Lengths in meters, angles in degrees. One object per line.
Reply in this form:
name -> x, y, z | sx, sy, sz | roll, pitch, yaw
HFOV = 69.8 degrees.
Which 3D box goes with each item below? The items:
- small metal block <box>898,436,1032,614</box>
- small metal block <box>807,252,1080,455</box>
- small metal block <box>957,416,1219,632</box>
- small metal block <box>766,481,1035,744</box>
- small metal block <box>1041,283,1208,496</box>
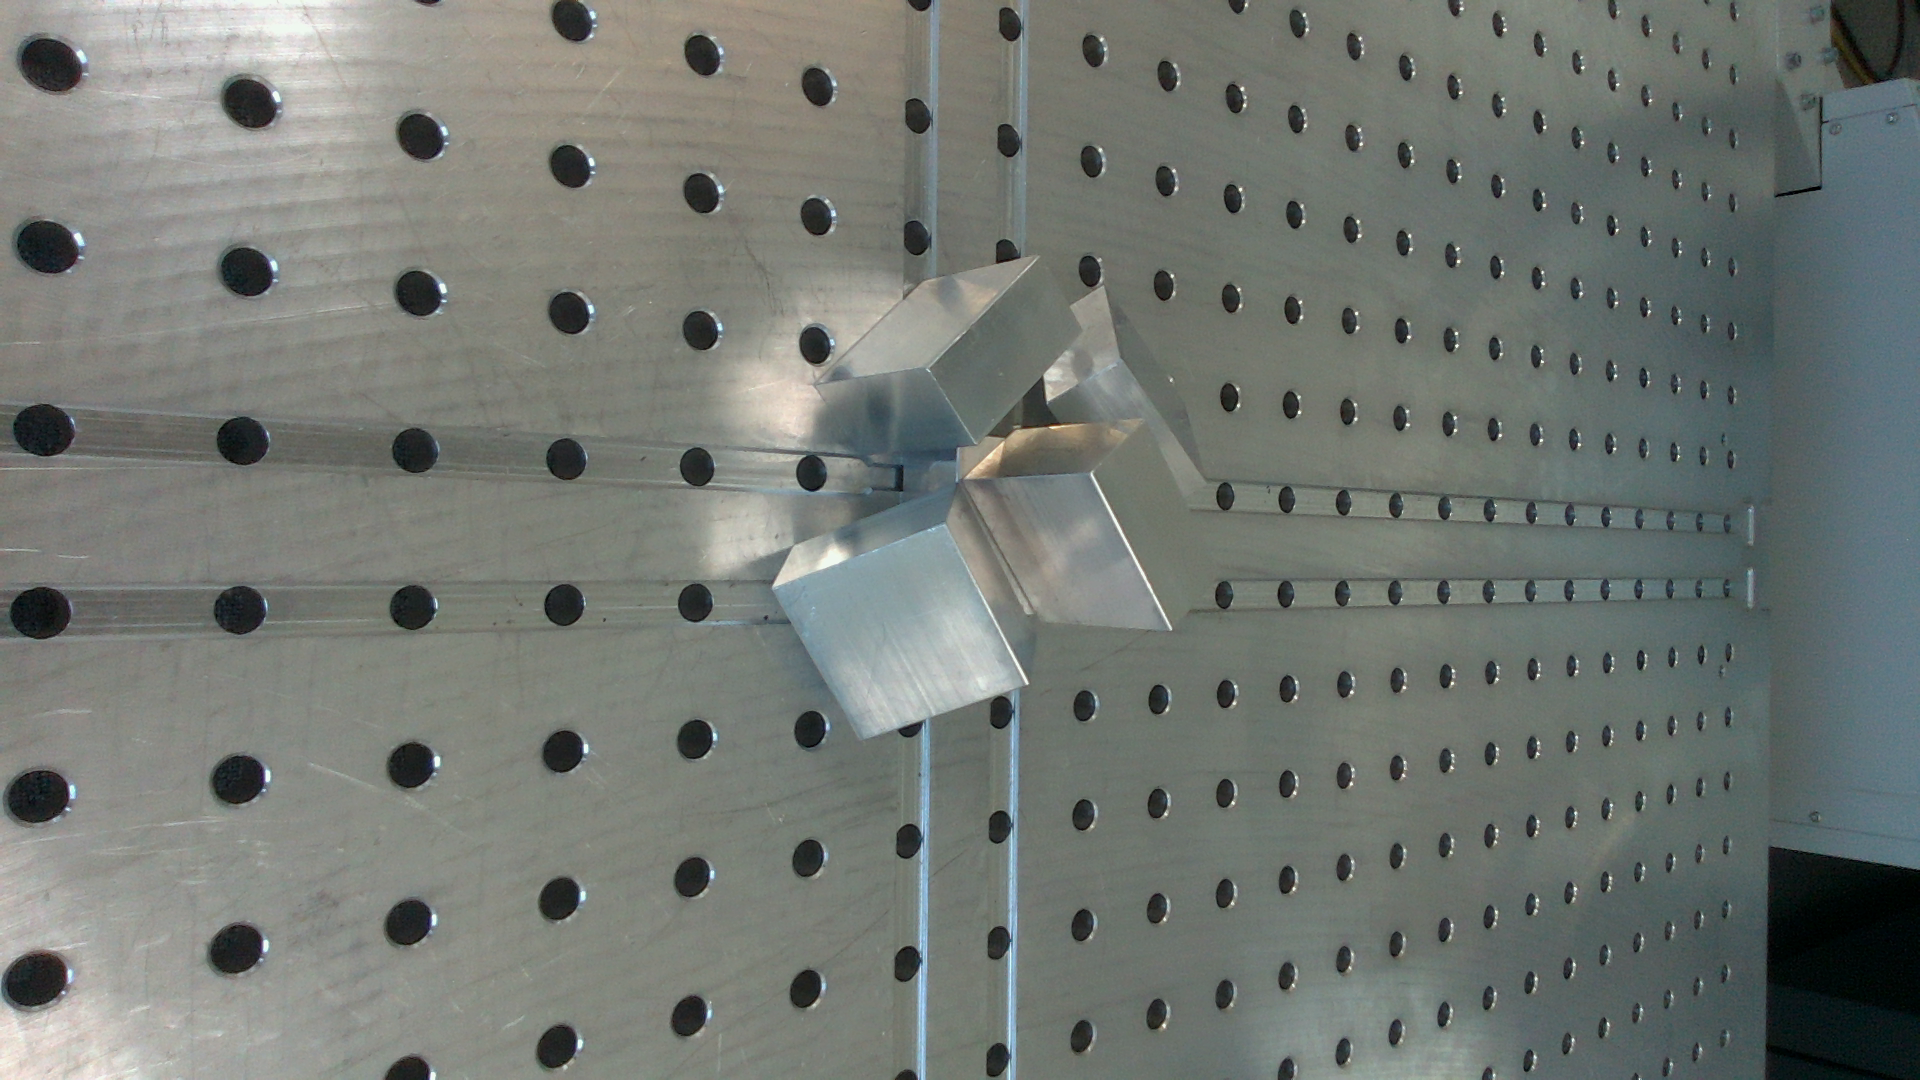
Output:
small metal block -> 0.009, -0.004, 0.399 | 0.050, 0.025, 0.050 | 1, 89, -41
small metal block -> -0.005, -0.049, 0.371 | 0.050, 0.050, 0.025 | -49, 119, -29
small metal block -> 0.034, -0.004, 0.371 | 0.025, 0.050, 0.050 | -44, 117, -32
small metal block -> -0.014, 0.019, 0.360 | 0.050, 0.050, 0.025 | 63, 18, -21
small metal block -> 0.048, -0.041, 0.414 | 0.050, 0.025, 0.050 | 50, 21, -28
